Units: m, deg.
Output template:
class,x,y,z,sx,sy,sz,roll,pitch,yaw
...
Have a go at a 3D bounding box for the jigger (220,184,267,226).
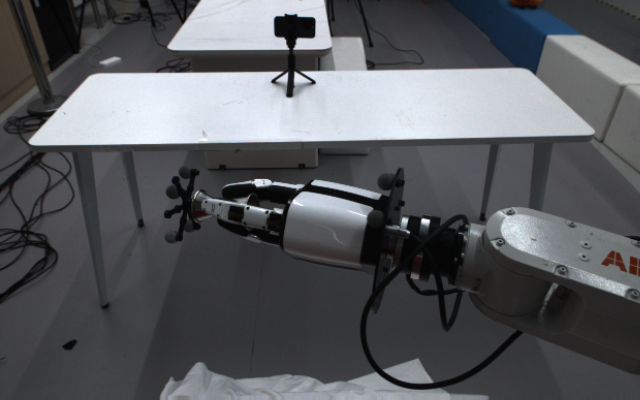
class,x,y,z,sx,sy,sz,roll,pitch,yaw
jigger,-0.106,0.007,0.568,0.071,0.043,0.043,5,34,14
